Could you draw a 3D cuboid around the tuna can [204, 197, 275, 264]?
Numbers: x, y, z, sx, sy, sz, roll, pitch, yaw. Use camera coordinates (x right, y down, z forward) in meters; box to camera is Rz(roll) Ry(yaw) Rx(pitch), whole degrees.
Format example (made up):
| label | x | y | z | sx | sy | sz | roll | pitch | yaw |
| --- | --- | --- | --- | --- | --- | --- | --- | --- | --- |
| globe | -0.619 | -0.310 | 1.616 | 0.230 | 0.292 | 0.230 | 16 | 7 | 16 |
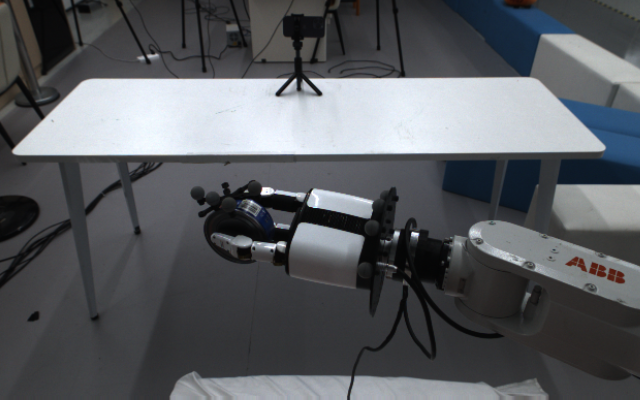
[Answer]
| label | x | y | z | sx | sy | sz | roll | pitch | yaw |
| --- | --- | --- | --- | --- | --- | --- | --- | --- | --- |
| tuna can | -0.100 | 0.043 | 0.617 | 0.085 | 0.085 | 0.034 | 10 | 33 | 11 |
